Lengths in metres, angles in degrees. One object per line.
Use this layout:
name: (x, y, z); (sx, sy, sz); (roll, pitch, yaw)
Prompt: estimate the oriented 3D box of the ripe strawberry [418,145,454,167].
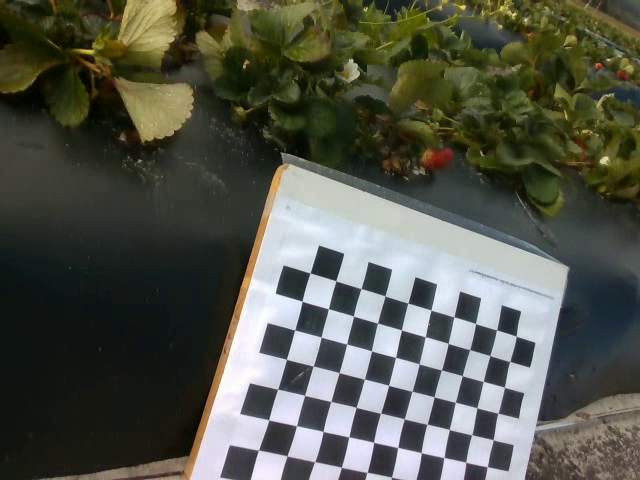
ripe strawberry: (0.083, -0.062, 0.431); (0.027, 0.022, 0.021); (-9, 11, -13)
